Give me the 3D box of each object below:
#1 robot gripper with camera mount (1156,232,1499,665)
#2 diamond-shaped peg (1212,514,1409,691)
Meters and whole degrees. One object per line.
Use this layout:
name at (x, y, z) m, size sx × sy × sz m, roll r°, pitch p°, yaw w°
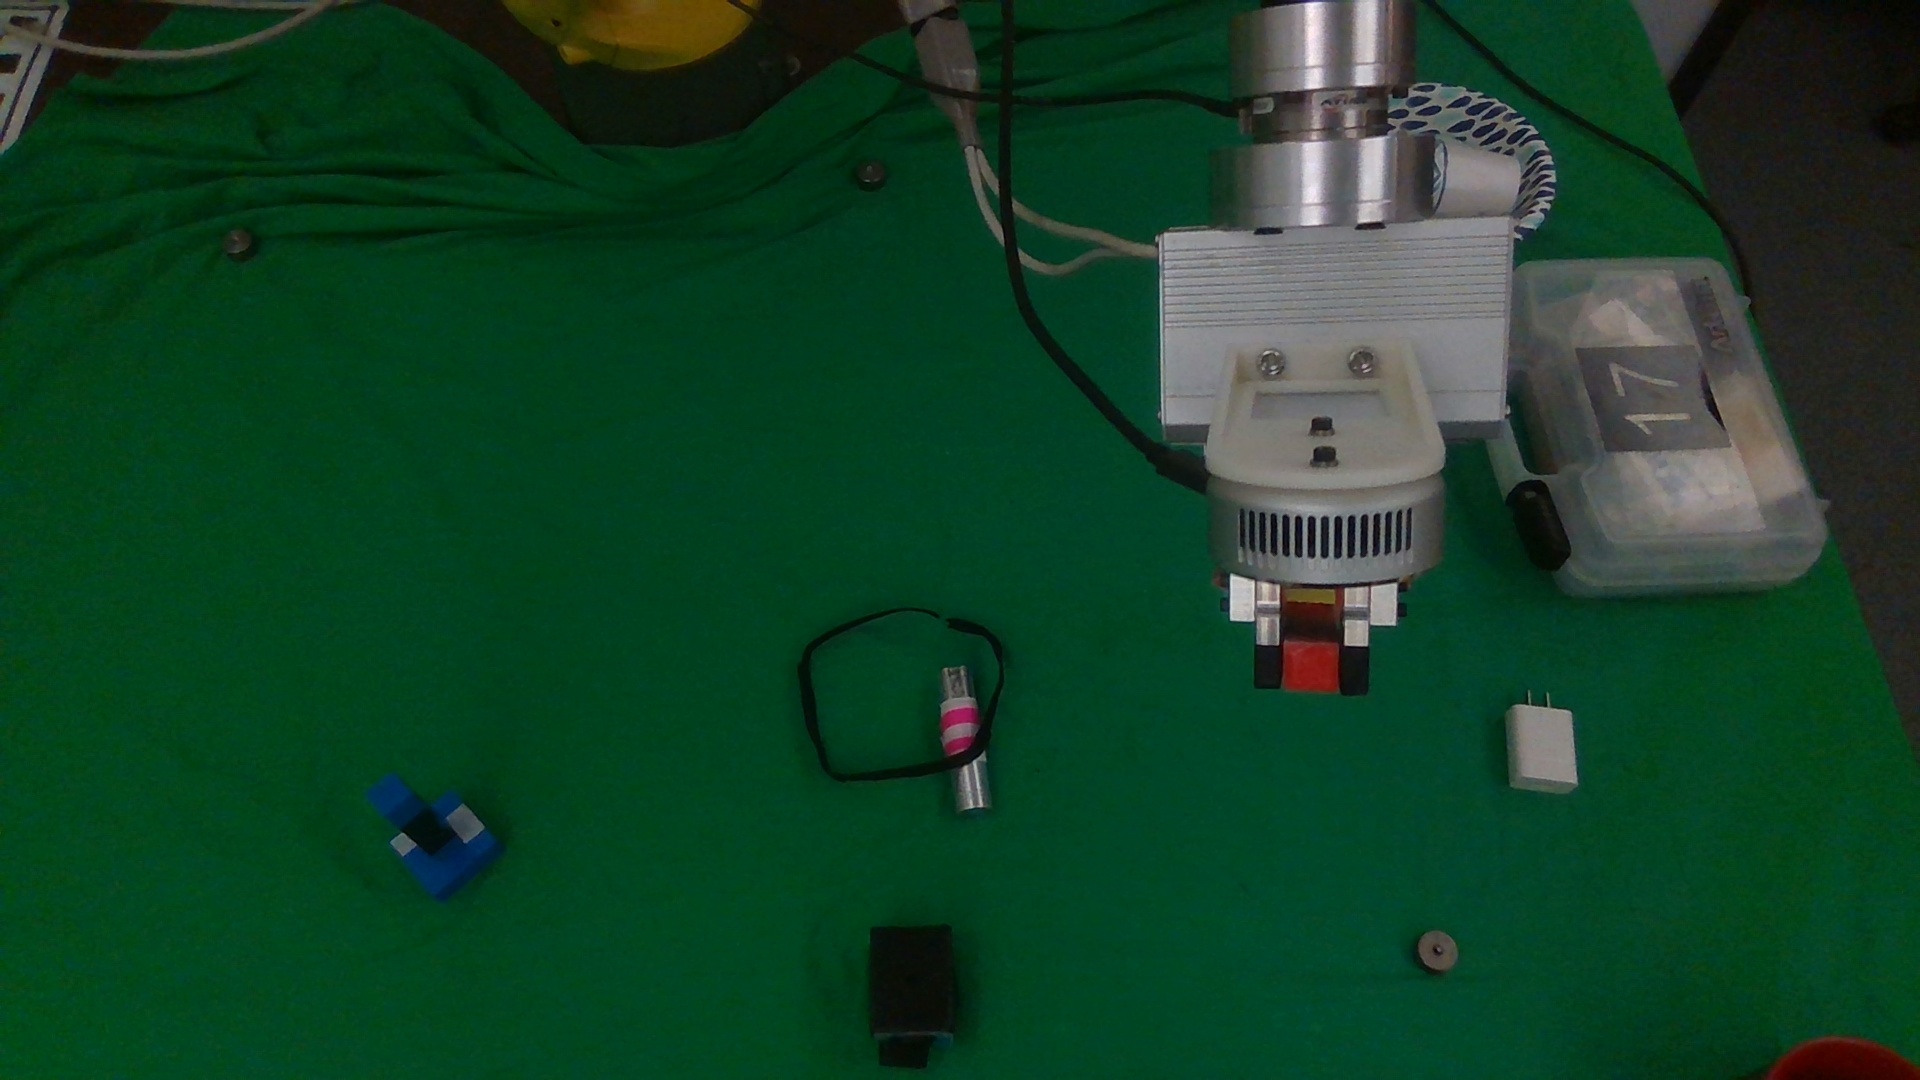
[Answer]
robot gripper with camera mount at (0.126, -0.007, 0.447) m, size 0.119 × 0.158 × 0.193 m, roll -2°, pitch 17°, yaw 7°
diamond-shaped peg at (0.145, 0.027, 0.577) m, size 0.074 × 0.122 × 0.045 m, roll -29°, pitch 99°, yaw 21°
